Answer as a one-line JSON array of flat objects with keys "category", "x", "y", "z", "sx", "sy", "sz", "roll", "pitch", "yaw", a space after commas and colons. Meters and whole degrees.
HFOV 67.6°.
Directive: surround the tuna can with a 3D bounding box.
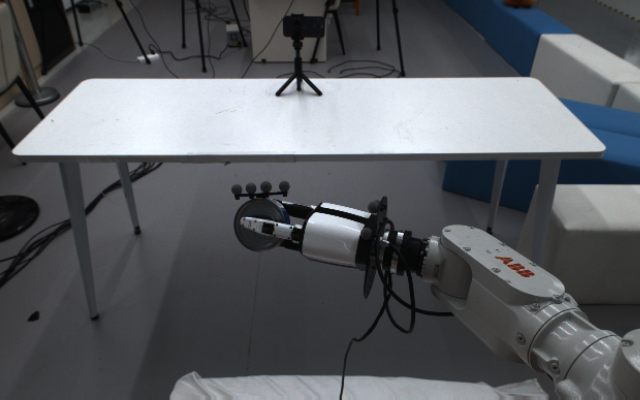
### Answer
[{"category": "tuna can", "x": -0.086, "y": 0.040, "z": 0.774, "sx": 0.085, "sy": 0.085, "sz": 0.034, "roll": 10, "pitch": 2, "yaw": 11}]
